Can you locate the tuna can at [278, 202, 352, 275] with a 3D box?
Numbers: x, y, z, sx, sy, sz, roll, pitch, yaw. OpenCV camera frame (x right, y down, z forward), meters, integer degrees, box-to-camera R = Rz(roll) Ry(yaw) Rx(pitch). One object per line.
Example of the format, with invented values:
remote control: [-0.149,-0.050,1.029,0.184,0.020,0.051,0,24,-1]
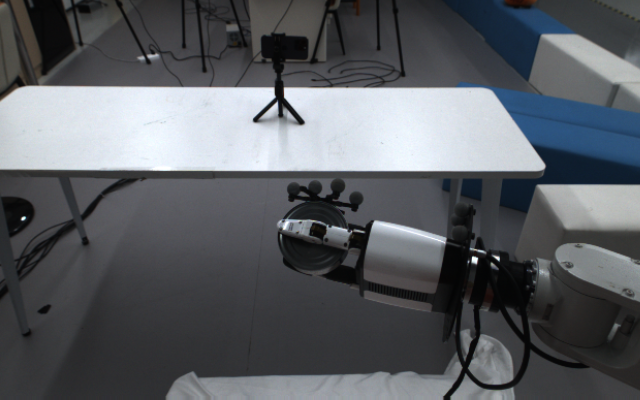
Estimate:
tuna can: [-0.005,0.044,0.583,0.085,0.034,0.085,-3,69,7]
